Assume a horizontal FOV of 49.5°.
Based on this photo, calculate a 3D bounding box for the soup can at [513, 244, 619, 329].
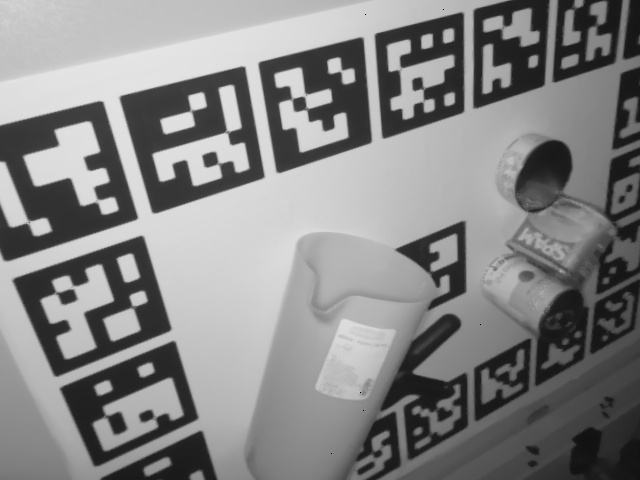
[{"bbox_3d":[0.286,0.052,0.814,0.069,0.101,0.067,-12,115,-26],"label":"soup can"}]

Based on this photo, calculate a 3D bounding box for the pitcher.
[{"bbox_3d":[0.047,0.109,0.681,0.192,0.132,0.240,-13,127,-48],"label":"pitcher"}]

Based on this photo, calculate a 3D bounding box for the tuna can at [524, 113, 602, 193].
[{"bbox_3d":[0.272,-0.098,0.778,0.087,0.033,0.085,-11,115,-24],"label":"tuna can"}]

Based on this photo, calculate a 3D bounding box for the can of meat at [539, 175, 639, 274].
[{"bbox_3d":[0.318,-0.022,0.793,0.058,0.101,0.084,37,88,-34],"label":"can of meat"}]

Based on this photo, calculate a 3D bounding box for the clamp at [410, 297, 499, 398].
[{"bbox_3d":[0.139,0.141,0.821,0.167,0.036,0.121,-18,123,-17],"label":"clamp"}]
